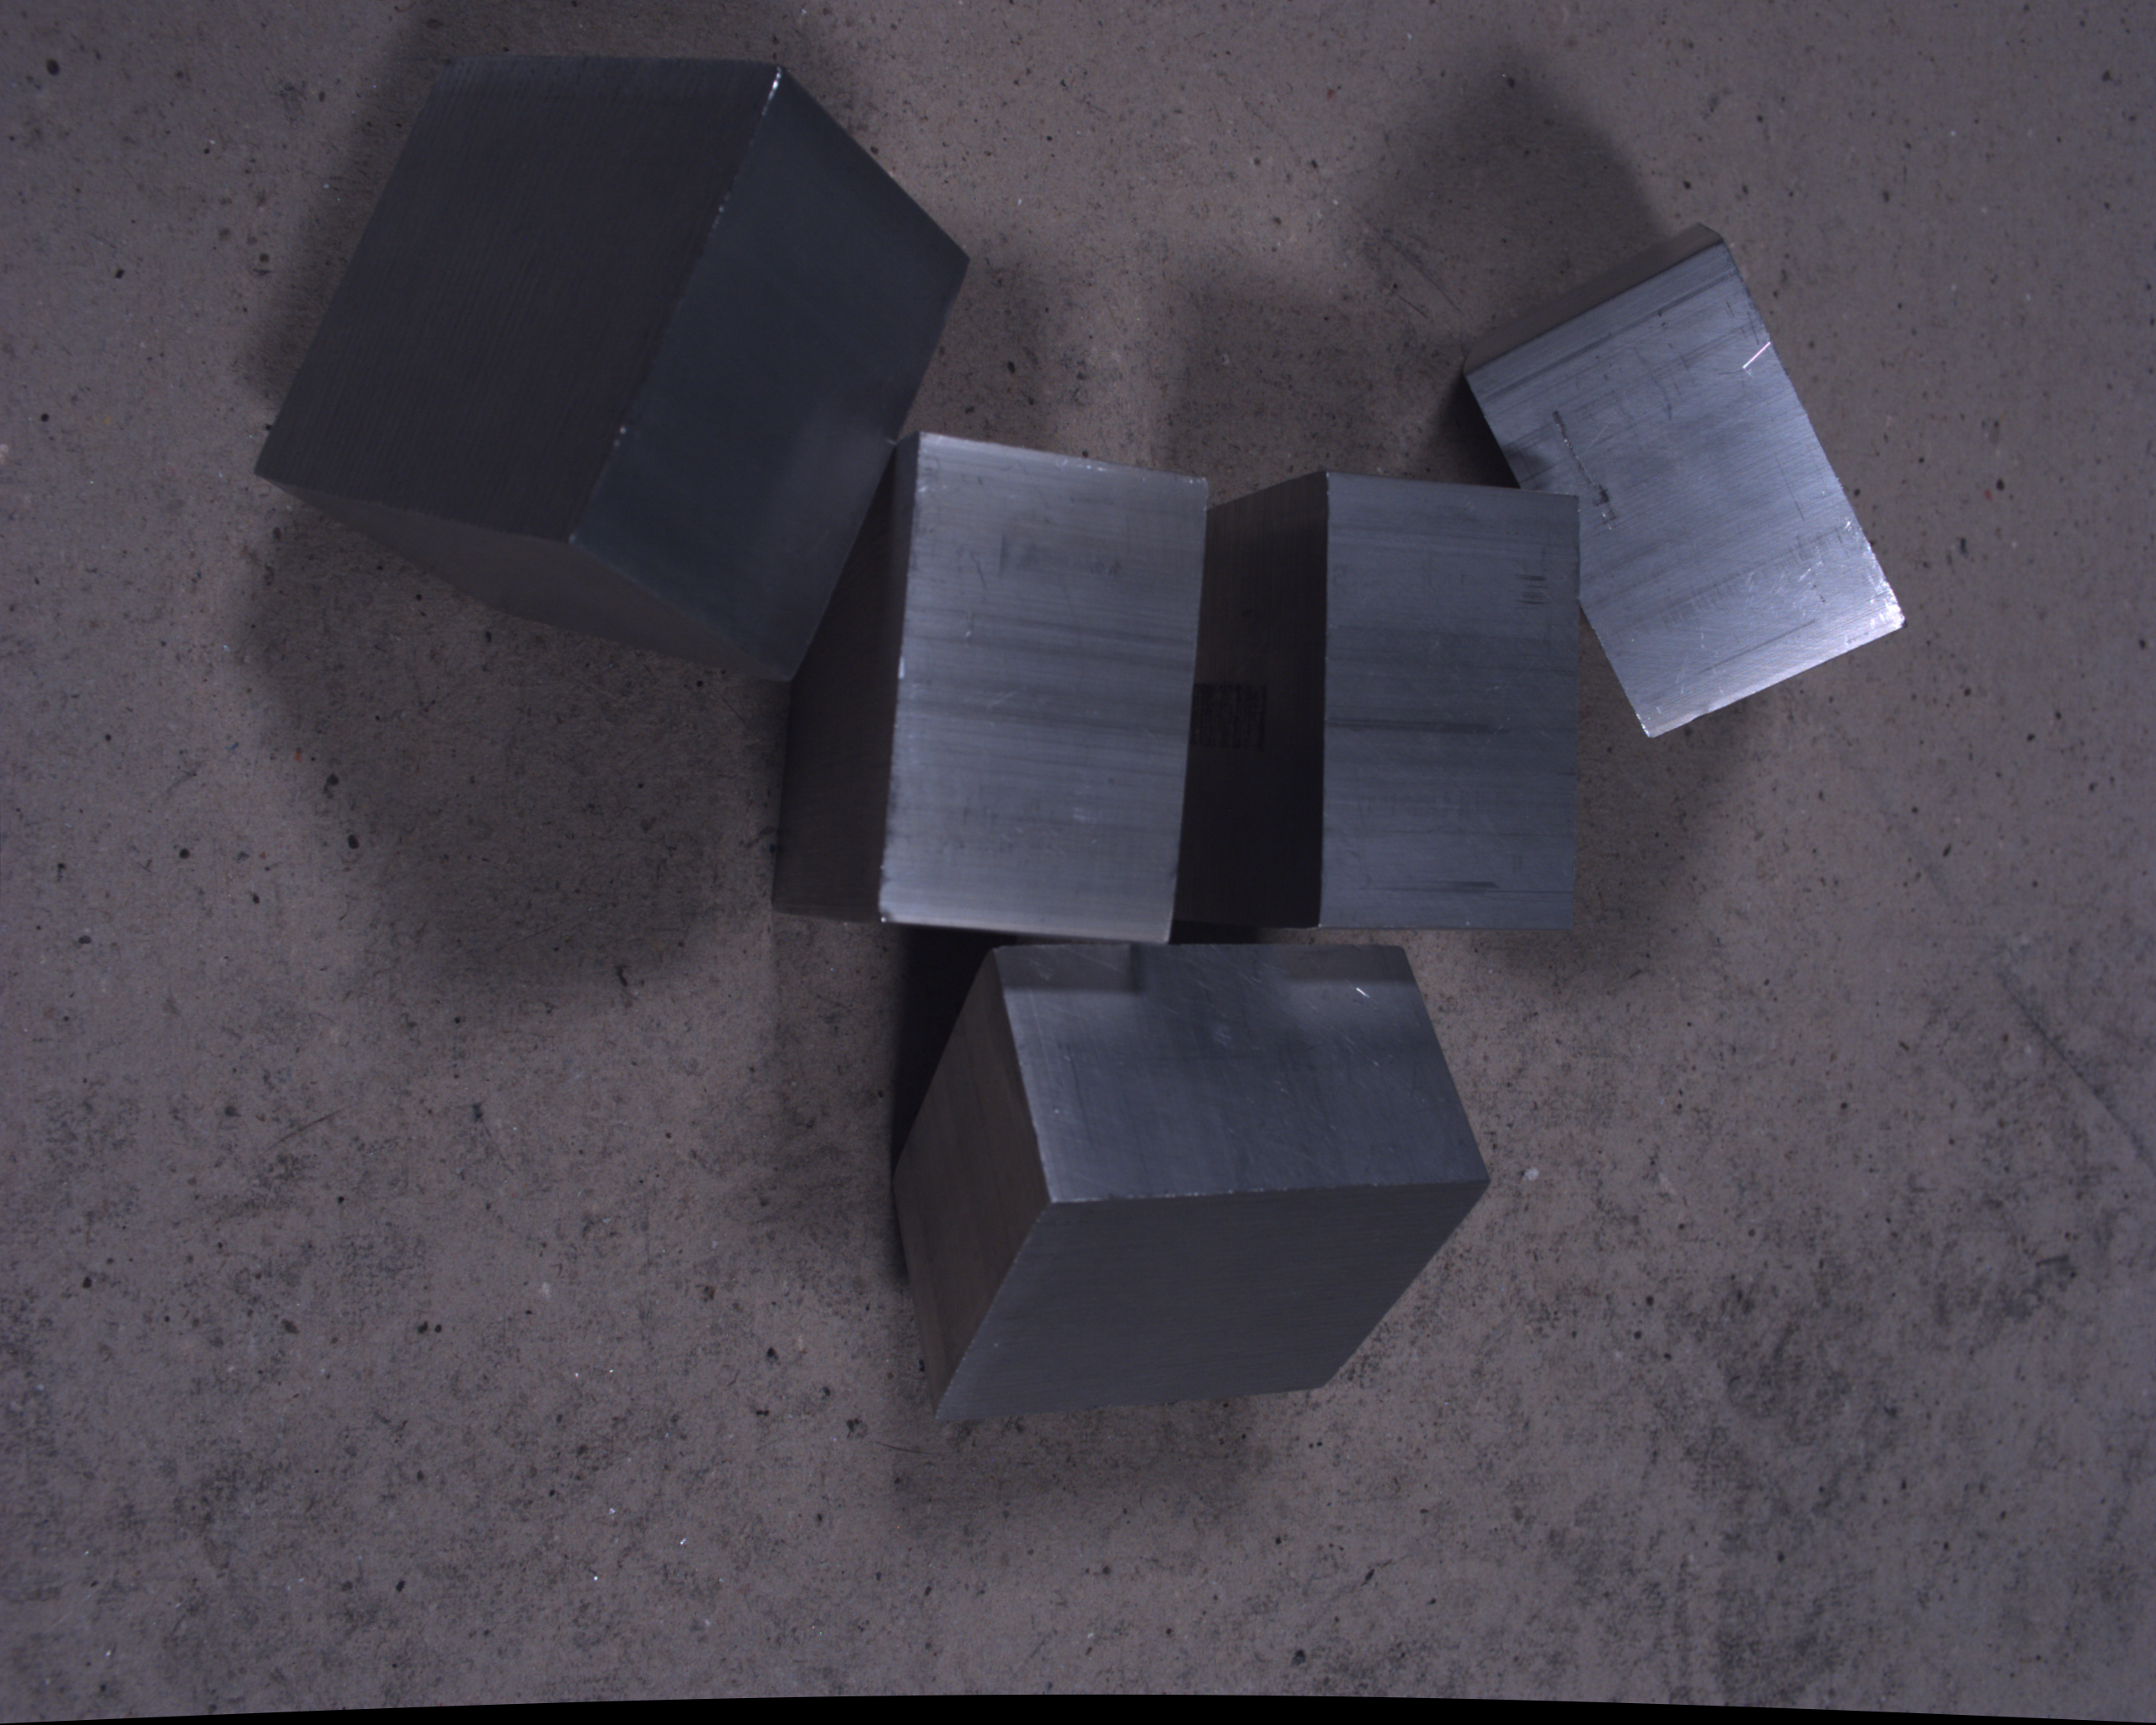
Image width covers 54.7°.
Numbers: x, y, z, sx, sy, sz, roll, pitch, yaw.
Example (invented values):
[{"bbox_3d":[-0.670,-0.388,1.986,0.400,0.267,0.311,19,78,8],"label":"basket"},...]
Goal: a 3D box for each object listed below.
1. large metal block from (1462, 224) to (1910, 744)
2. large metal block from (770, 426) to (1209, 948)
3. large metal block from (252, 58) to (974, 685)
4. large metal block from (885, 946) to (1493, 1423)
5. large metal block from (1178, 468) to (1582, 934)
[{"bbox_3d":[0.120,-0.079,0.420,0.050,0.080,0.080,-26,101,20],"label":"large metal block"},{"bbox_3d":[-0.019,-0.028,0.375,0.050,0.080,0.080,5,88,-20],"label":"large metal block"},{"bbox_3d":[-0.076,-0.082,0.344,0.050,0.080,0.080,32,77,-54],"label":"large metal block"},{"bbox_3d":[0.016,0.059,0.382,0.081,0.079,0.050,1,51,-20],"label":"large metal block"},{"bbox_3d":[0.052,-0.028,0.402,0.050,0.080,0.079,1,90,-20],"label":"large metal block"}]
